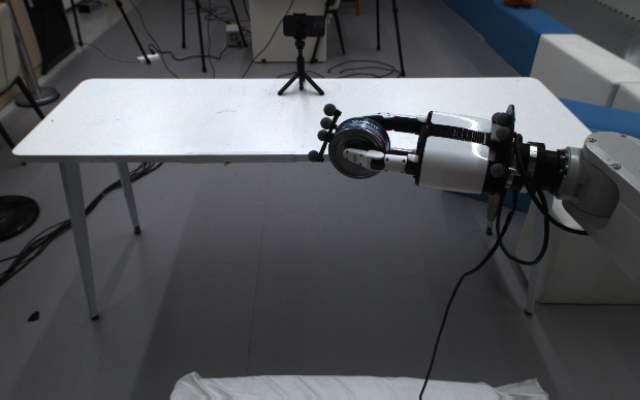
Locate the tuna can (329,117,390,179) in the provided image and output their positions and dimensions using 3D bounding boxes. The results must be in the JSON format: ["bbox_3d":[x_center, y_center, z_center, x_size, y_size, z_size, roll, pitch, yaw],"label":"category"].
[{"bbox_3d":[0.057,-0.074,0.695,0.085,0.085,0.034,9,35,10],"label":"tuna can"}]
